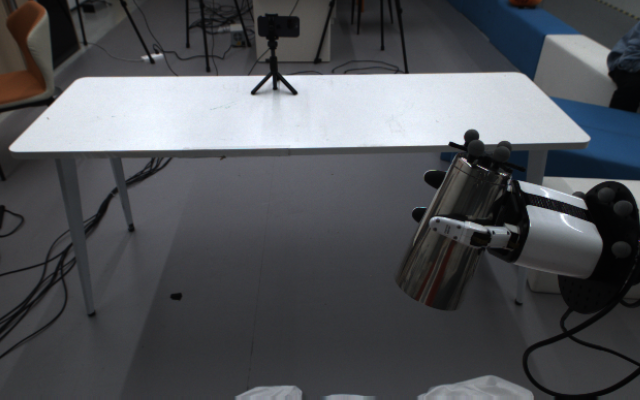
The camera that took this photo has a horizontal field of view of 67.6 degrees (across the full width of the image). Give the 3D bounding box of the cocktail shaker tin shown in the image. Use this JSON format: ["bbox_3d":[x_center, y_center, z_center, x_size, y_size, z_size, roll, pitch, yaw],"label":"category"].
[{"bbox_3d":[0.163,0.034,0.577,0.093,0.170,0.093,16,21,-6],"label":"cocktail shaker tin"}]
